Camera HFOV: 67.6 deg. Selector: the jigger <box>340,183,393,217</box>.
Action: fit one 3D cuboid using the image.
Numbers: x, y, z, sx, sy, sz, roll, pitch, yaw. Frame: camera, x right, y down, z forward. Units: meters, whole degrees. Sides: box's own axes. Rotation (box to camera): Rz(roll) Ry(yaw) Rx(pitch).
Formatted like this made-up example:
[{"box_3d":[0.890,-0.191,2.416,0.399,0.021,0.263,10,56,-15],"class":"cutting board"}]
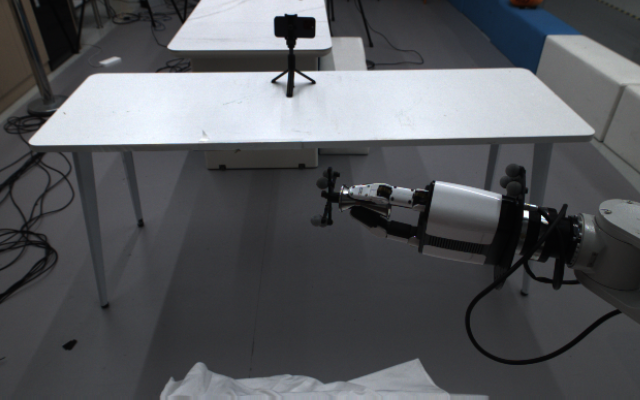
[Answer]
[{"box_3d":[0.069,-0.003,0.663,0.071,0.043,0.043,6,35,13],"class":"jigger"}]
